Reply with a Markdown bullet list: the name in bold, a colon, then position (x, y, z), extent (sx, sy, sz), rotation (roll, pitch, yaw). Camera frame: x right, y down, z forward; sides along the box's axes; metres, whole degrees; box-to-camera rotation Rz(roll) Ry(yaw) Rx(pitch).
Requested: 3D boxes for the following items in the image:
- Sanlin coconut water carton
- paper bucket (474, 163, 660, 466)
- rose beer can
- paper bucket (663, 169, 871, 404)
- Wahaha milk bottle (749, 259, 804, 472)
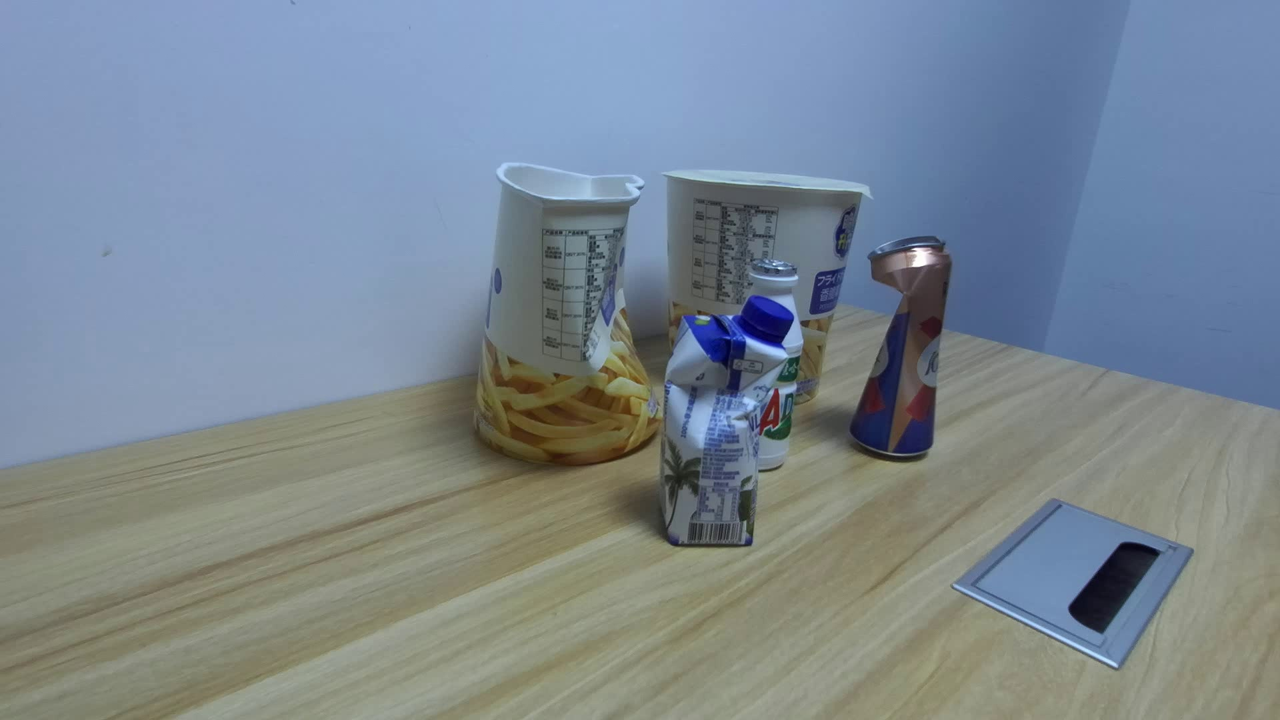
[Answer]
- **Sanlin coconut water carton**: position (0.046, 0.034, 0.410), extent (0.070, 0.143, 0.060), rotation (3, 20, -6)
- **paper bucket**: position (-0.050, -0.041, 0.536), extent (0.148, 0.199, 0.217), rotation (-5, 20, -27)
- **rose beer can**: position (0.203, -0.009, 0.544), extent (0.070, 0.168, 0.069), rotation (-8, 18, -25)
- **paper bucket**: position (0.107, -0.072, 0.665), extent (0.198, 0.194, 0.198), rotation (3, 19, -1)
- **Wahaha milk bottle**: position (0.089, 0.004, 0.507), extent (0.053, 0.147, 0.053), rotation (3, 18, -1)
